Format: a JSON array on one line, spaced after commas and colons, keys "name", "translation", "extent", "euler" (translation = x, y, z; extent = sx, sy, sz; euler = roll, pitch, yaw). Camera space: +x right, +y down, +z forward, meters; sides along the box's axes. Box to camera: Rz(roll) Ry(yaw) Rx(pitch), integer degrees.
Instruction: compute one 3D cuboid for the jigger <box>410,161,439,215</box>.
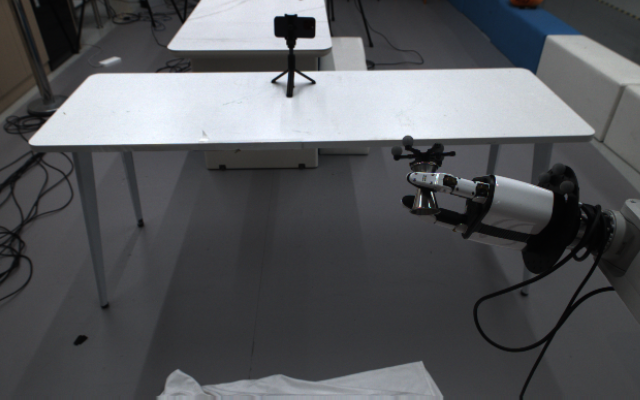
[{"name": "jigger", "translation": [0.149, -0.018, 0.694], "extent": [0.043, 0.043, 0.071], "euler": [3, 76, 1]}]
